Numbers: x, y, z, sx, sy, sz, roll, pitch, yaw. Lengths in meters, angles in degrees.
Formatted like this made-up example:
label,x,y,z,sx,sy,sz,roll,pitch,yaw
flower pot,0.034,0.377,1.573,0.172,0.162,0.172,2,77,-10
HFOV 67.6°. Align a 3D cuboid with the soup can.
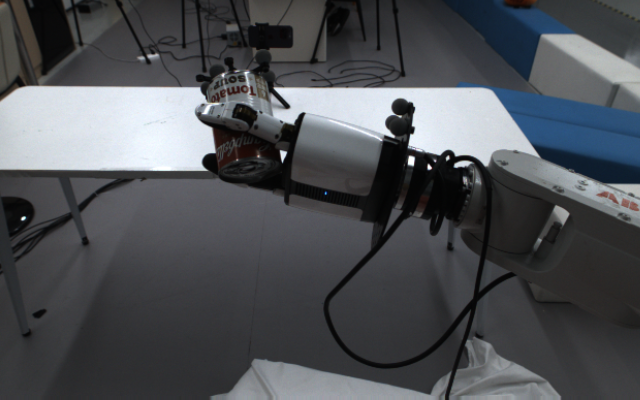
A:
label,x,y,z,sx,sy,sz,roll,pitch,yaw
soup can,-0.079,-0.076,0.515,0.067,0.067,0.101,-8,74,-14
